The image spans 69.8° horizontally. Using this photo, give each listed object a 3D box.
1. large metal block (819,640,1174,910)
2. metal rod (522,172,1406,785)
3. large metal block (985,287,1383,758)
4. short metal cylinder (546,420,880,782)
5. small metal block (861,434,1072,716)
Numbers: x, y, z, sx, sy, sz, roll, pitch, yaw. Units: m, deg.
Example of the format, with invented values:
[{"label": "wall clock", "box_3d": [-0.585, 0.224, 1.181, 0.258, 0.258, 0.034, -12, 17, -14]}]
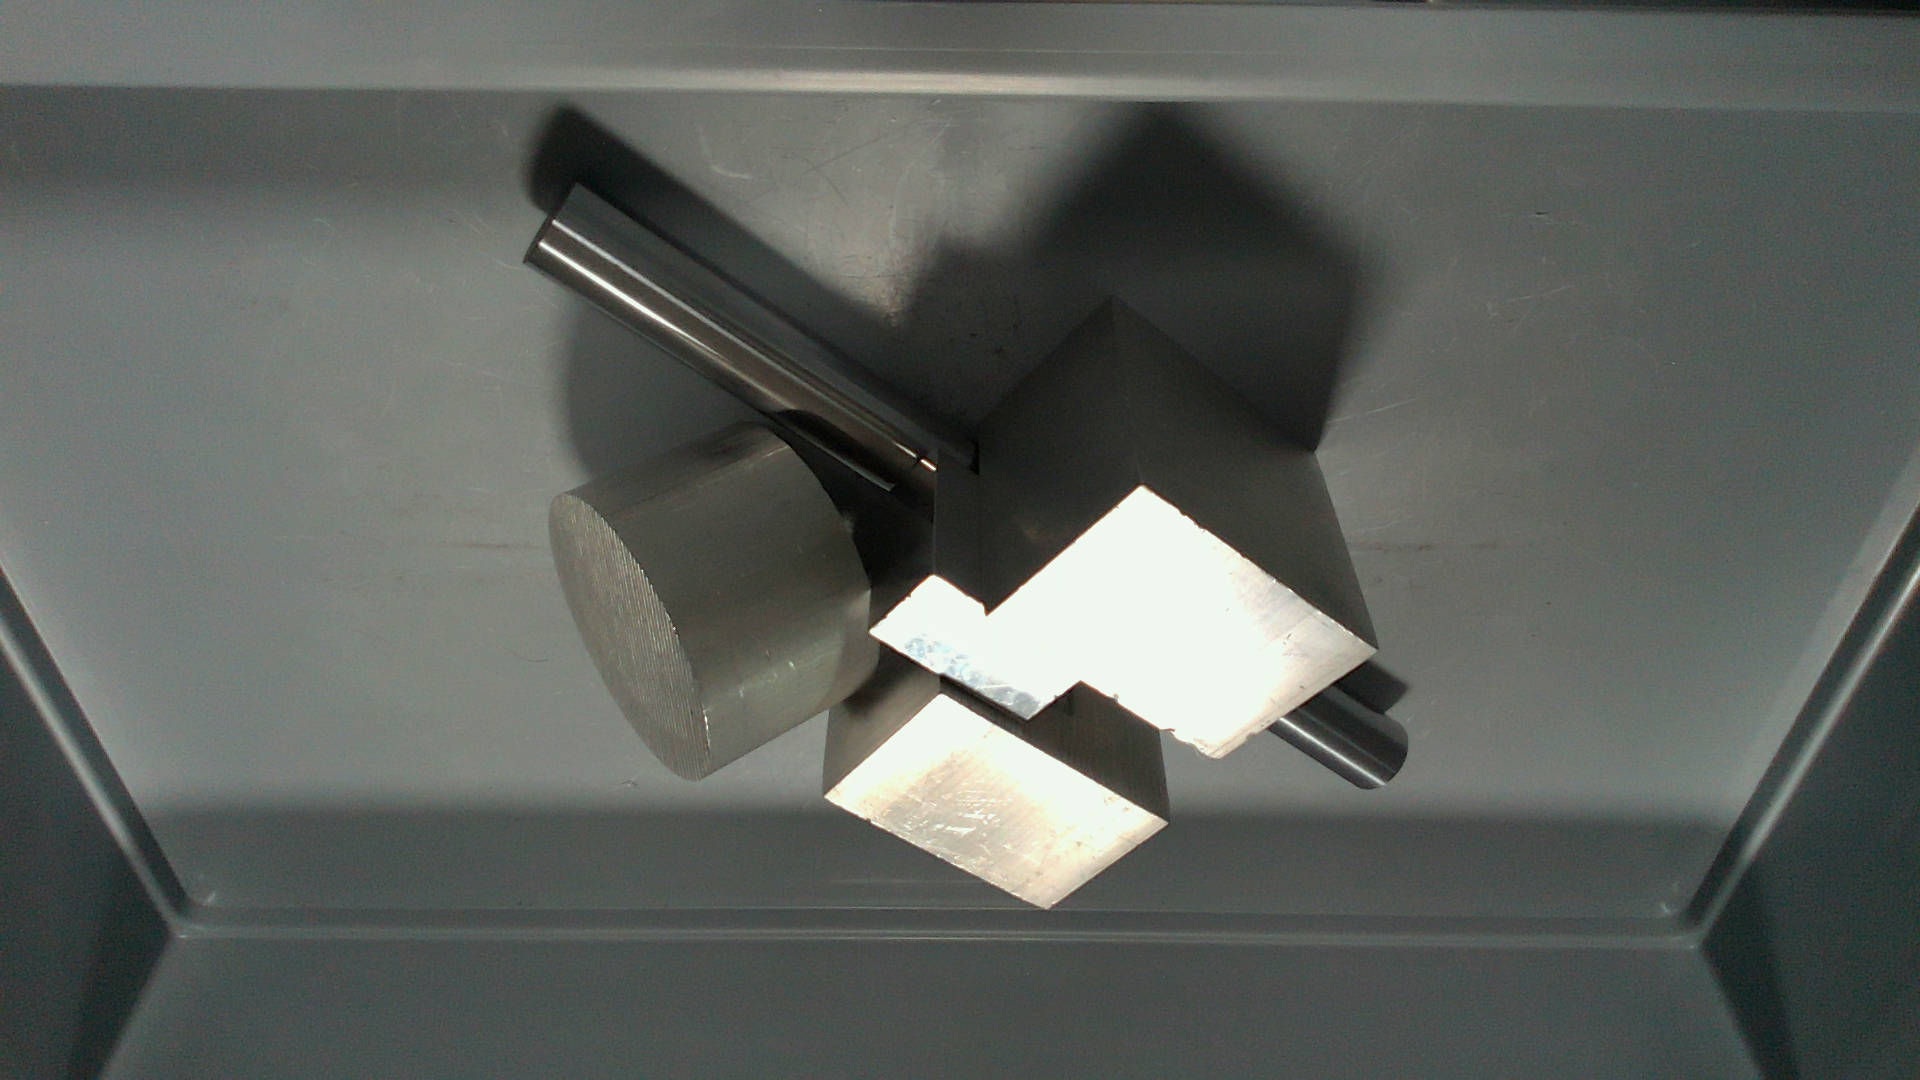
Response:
[{"label": "large metal block", "box_3d": [0.010, 0.045, 0.392, 0.080, 0.080, 0.050, 32, 123, -24]}, {"label": "metal rod", "box_3d": [0.019, -0.004, 0.387, 0.301, 0.025, 0.025, 32, 123, -24]}, {"label": "large metal block", "box_3d": [0.053, -0.005, 0.351, 0.080, 0.080, 0.050, 33, 123, -25]}, {"label": "short metal cylinder", "box_3d": [-0.065, 0.015, 0.358, 0.050, 0.080, 0.080, -28, 138, -29]}, {"label": "small metal block", "box_3d": [0.004, 0.009, 0.350, 0.050, 0.050, 0.025, 33, 123, -25]}]
